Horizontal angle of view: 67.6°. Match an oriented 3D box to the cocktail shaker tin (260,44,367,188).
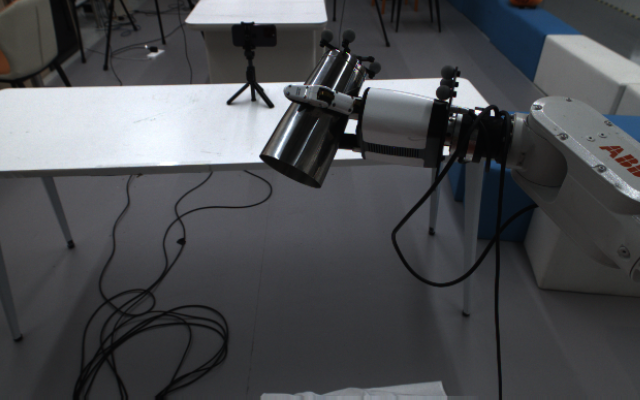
[{"bbox_3d":[-0.001,-0.116,0.651,0.093,0.093,0.170,21,81,25],"label":"cocktail shaker tin"}]
